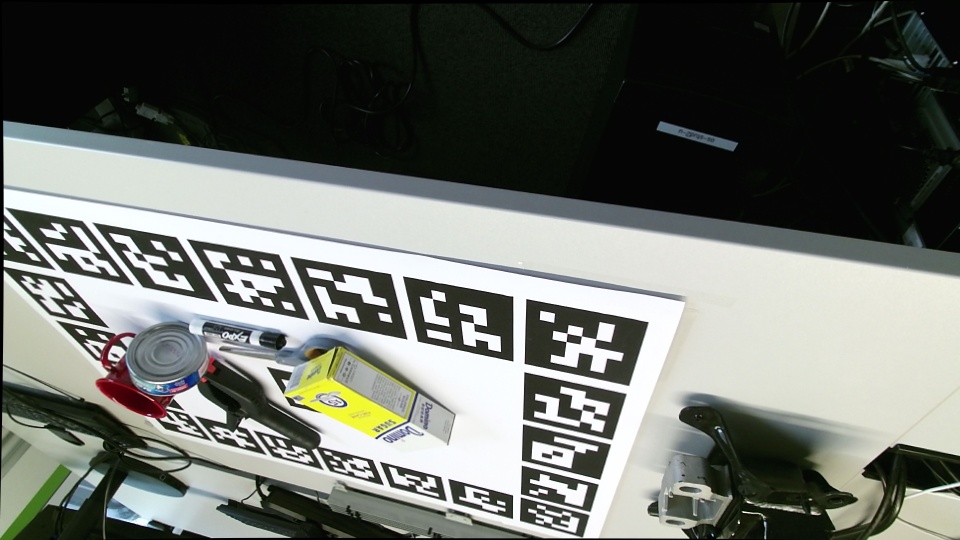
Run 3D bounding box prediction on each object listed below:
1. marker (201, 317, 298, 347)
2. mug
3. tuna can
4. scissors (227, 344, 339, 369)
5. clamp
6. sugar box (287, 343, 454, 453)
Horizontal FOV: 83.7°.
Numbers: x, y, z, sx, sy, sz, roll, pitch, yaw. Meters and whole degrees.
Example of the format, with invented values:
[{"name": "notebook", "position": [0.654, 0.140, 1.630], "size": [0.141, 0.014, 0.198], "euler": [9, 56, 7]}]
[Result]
[{"name": "marker", "position": [-0.269, 0.073, 0.626], "size": [0.121, 0.019, 0.019], "euler": [7, 134, 14]}, {"name": "mug", "position": [-0.430, 0.127, 0.703], "size": [0.093, 0.081, 0.117], "euler": [-12, 131, 31]}, {"name": "tuna can", "position": [-0.375, 0.103, 0.649], "size": [0.086, 0.085, 0.034], "euler": [22, 137, 0]}, {"name": "scissors", "position": [-0.224, 0.112, 0.644], "size": [0.203, 0.016, 0.088], "euler": [3, 138, 21]}, {"name": "clamp", "position": [-0.332, 0.187, 0.768], "size": [0.166, 0.036, 0.203], "euler": [2, 133, 20]}, {"name": "sugar box", "position": [-0.124, 0.156, 0.627], "size": [0.093, 0.045, 0.177], "euler": [-21, 129, 36]}]
